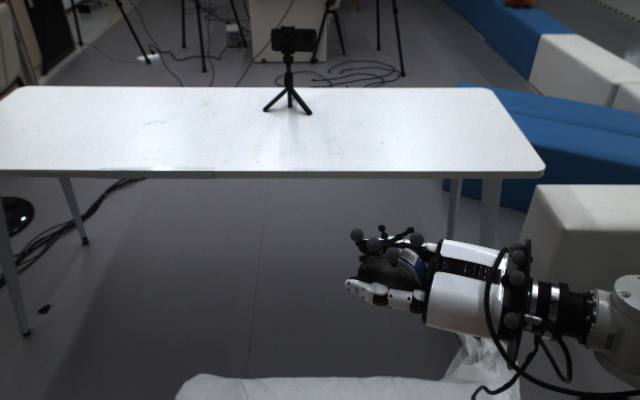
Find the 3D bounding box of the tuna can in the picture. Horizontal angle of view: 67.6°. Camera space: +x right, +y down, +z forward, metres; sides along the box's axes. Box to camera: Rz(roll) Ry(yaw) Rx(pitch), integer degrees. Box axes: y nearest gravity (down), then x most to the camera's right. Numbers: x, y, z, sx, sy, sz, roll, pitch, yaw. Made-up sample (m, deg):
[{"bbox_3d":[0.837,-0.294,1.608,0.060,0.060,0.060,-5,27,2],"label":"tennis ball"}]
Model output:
[{"bbox_3d":[0.097,0.096,0.630,0.085,0.085,0.034,17,37,20],"label":"tuna can"}]
